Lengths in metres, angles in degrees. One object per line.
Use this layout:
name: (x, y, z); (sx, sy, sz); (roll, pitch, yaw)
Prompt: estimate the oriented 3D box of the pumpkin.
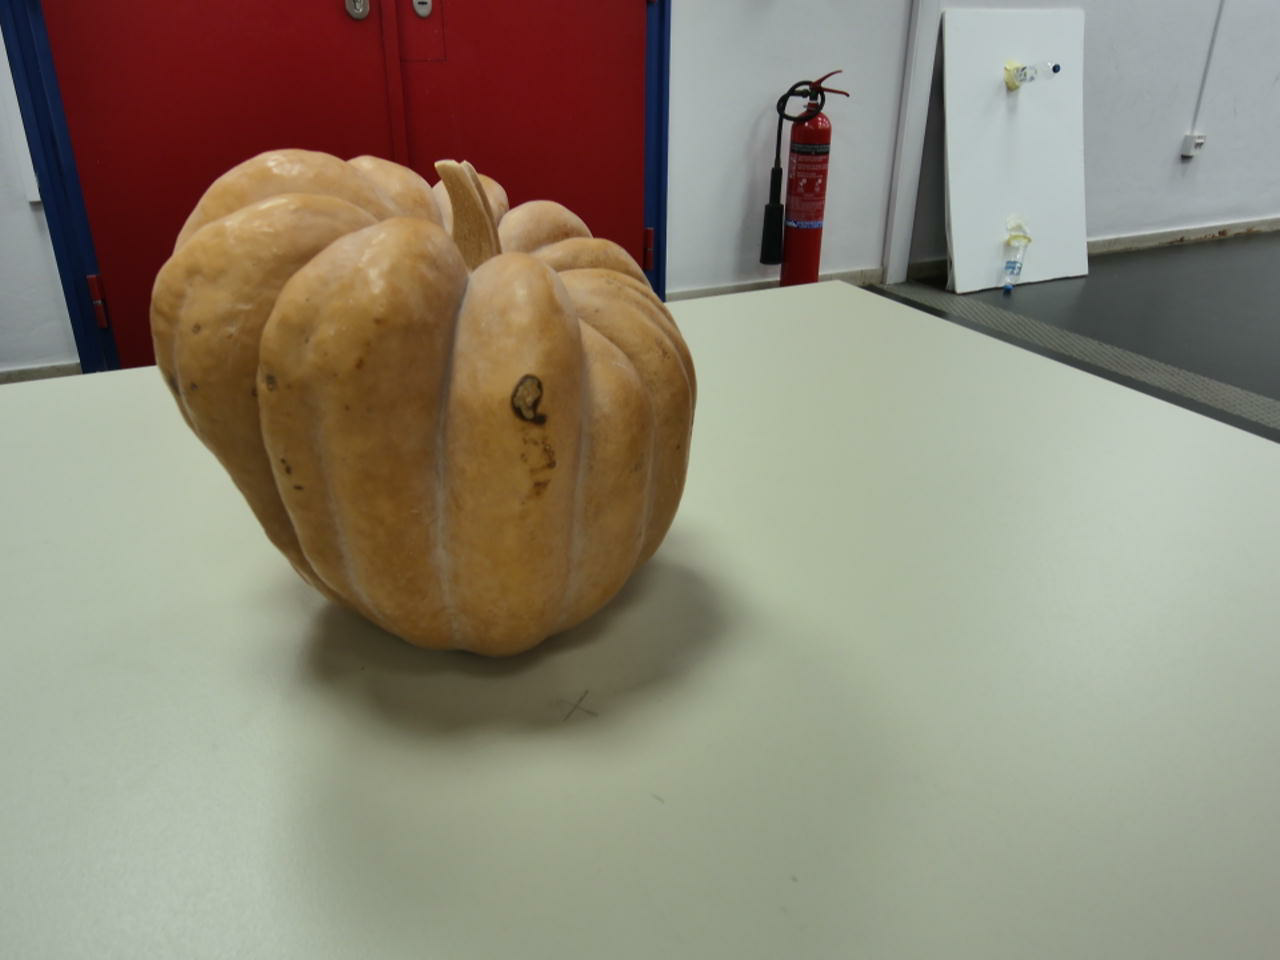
pumpkin: (-0.074, -0.030, 0.374); (0.199, 0.177, 0.198); (0, 24, 0)
